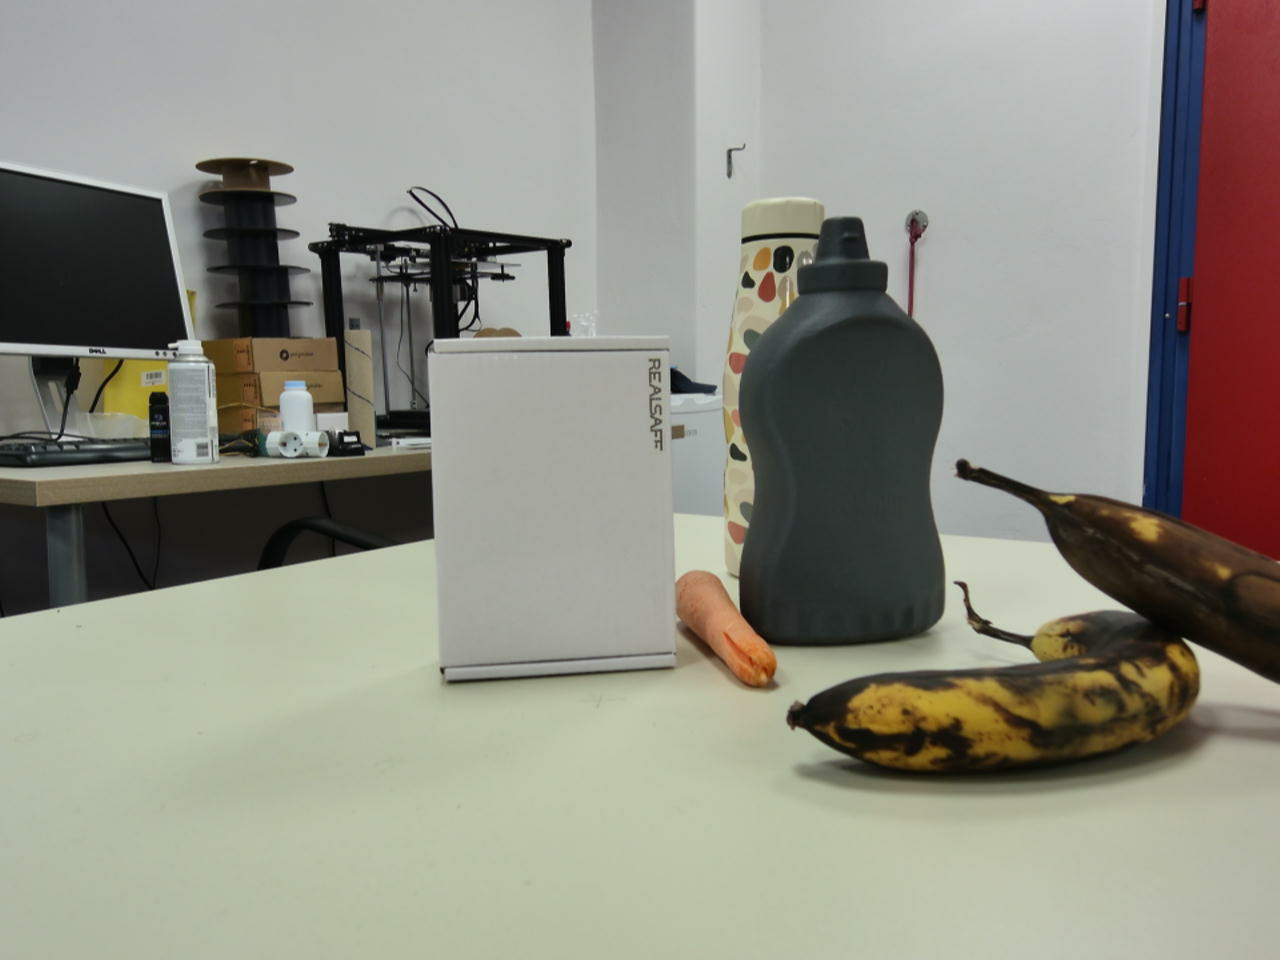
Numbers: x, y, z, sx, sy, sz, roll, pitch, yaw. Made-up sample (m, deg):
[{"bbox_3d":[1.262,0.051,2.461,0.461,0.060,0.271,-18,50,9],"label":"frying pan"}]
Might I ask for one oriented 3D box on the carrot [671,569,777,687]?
[{"bbox_3d":[0.038,0.066,0.477,0.030,0.032,0.136,0,4,-8],"label":"carrot"}]
